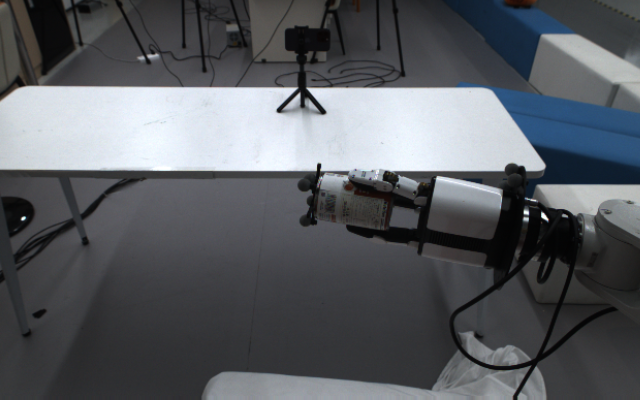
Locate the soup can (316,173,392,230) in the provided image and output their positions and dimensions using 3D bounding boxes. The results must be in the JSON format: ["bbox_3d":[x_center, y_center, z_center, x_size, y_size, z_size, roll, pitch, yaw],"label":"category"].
[{"bbox_3d":[0.050,0.001,0.656,0.101,0.067,0.067,9,35,9],"label":"soup can"}]
